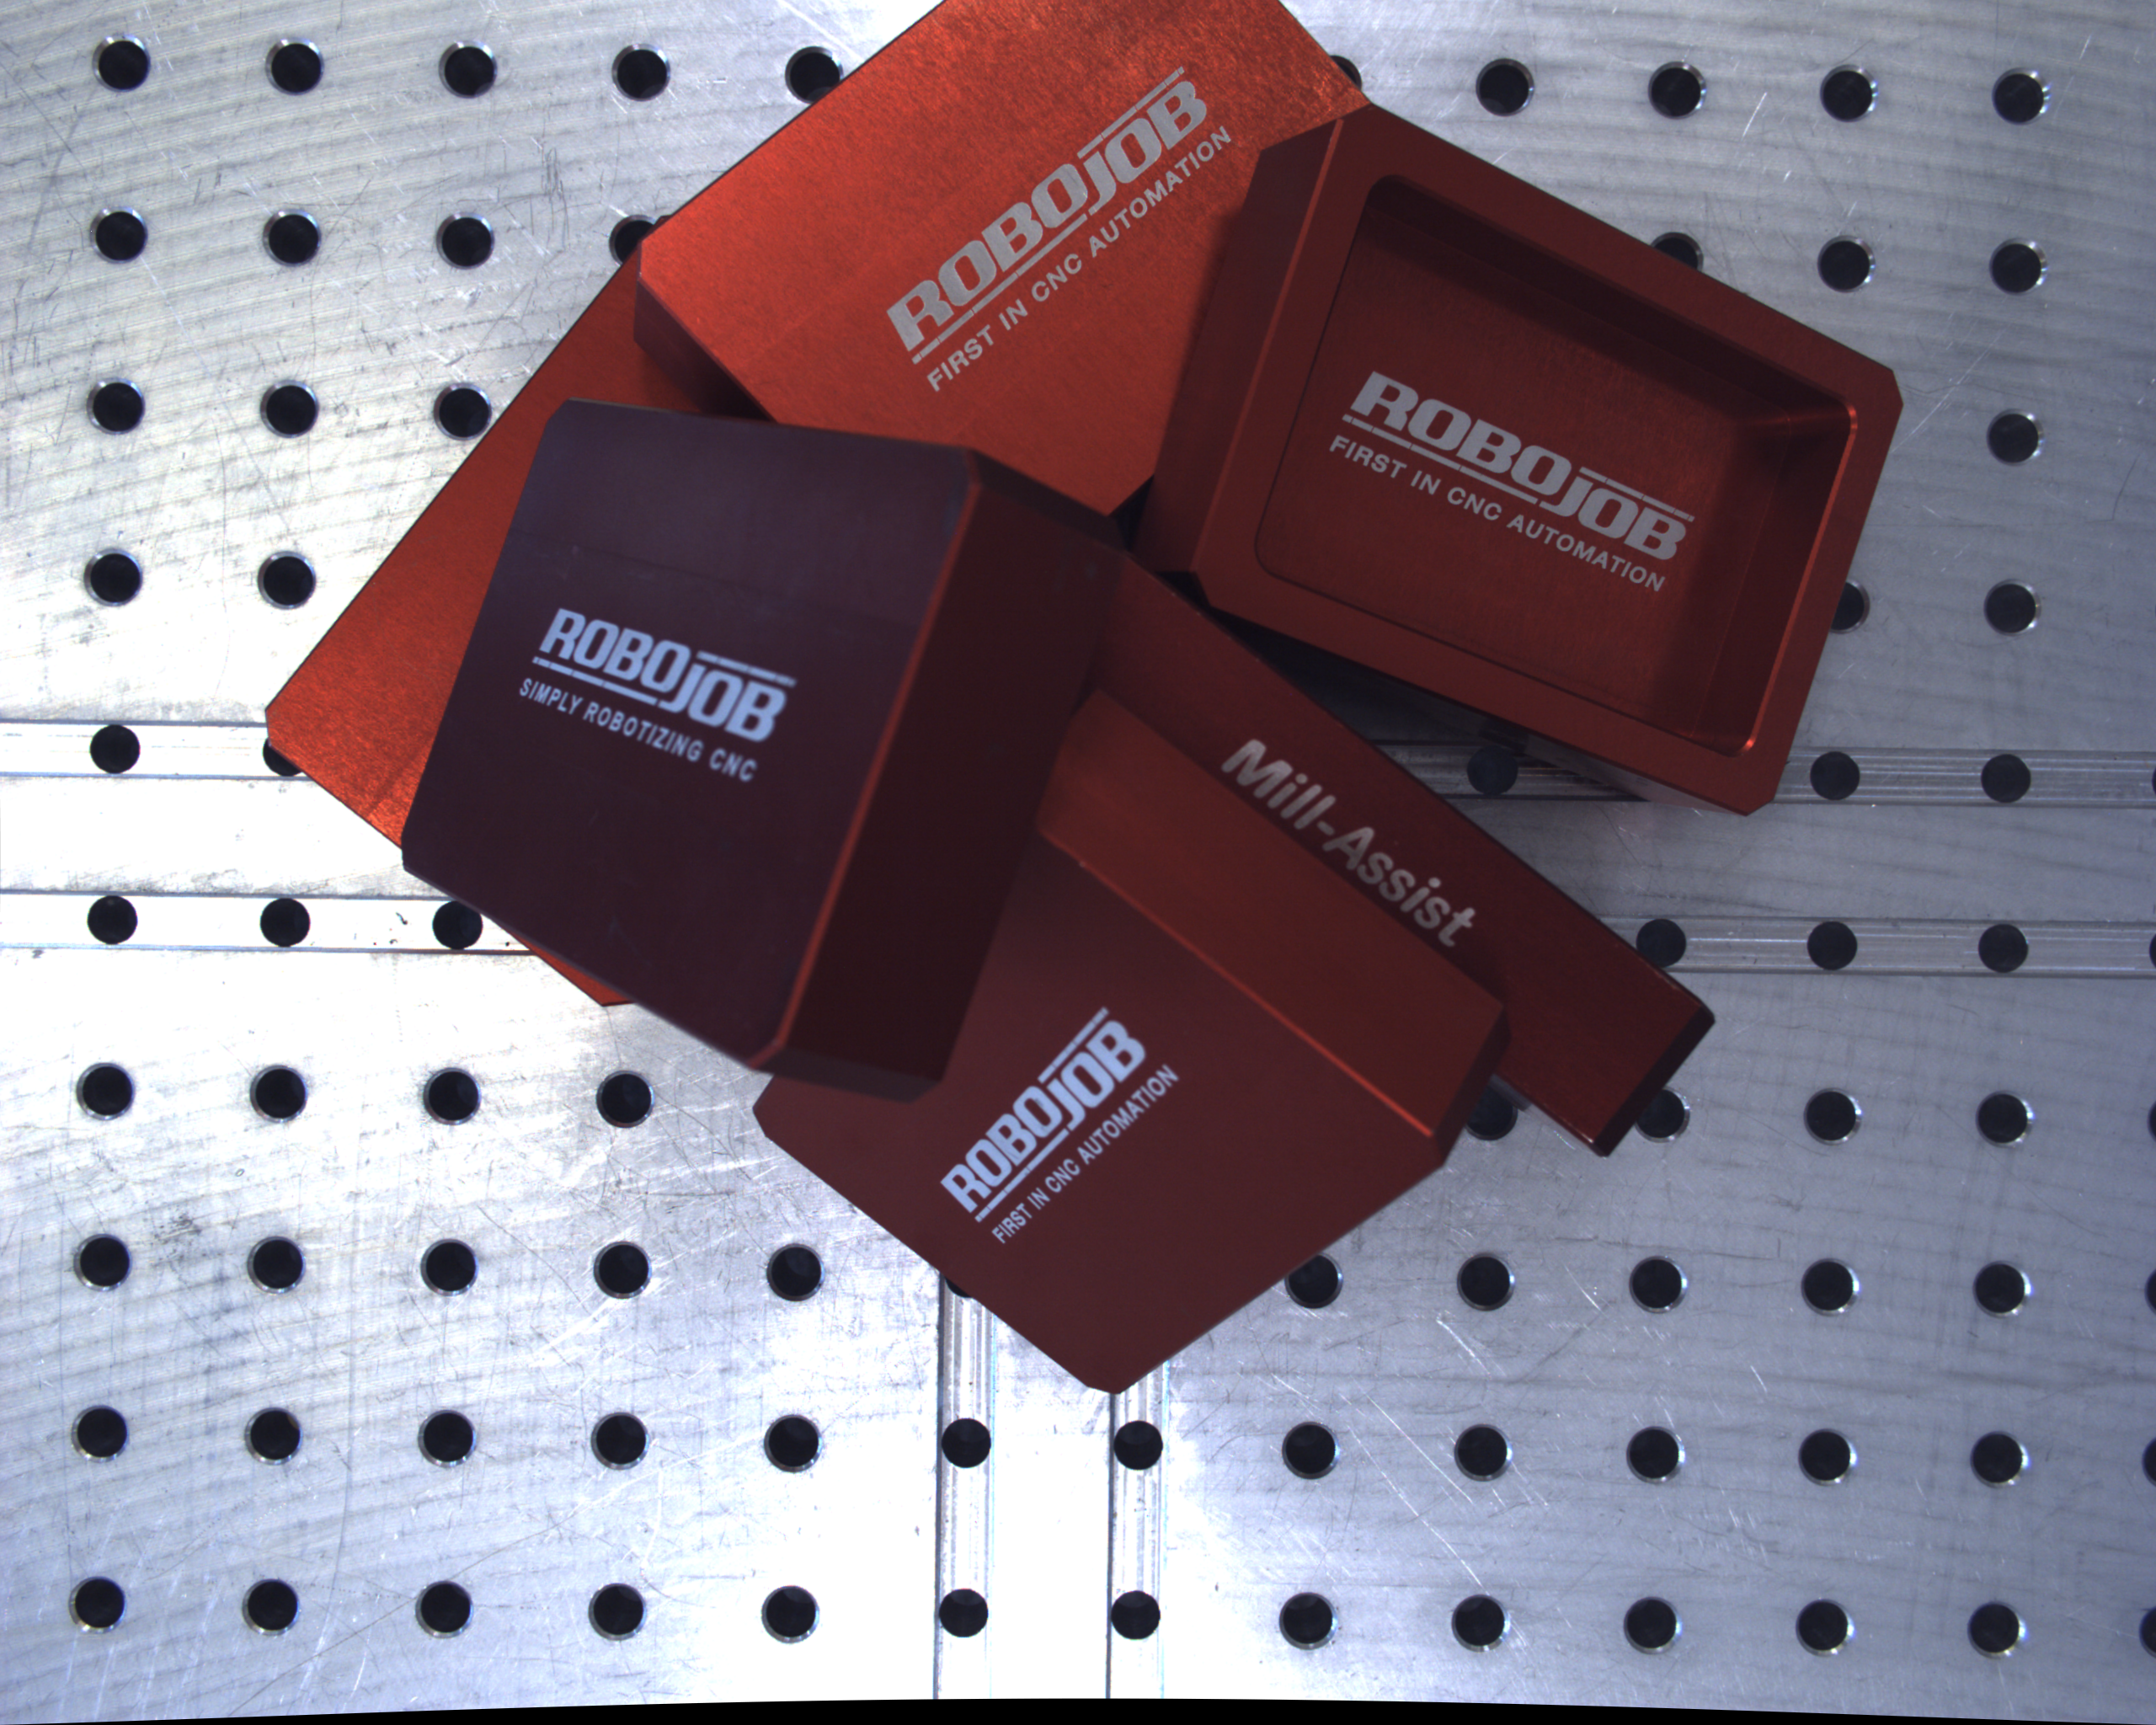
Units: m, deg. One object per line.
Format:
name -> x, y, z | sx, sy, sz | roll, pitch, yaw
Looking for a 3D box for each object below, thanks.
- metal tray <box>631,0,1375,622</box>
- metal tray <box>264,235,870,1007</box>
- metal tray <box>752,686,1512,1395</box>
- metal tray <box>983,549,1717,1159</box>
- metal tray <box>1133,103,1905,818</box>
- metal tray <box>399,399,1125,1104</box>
metal tray -> -0.007, -0.114, 0.392 | 0.130, 0.030, 0.090 | -44, 93, -14
metal tray -> -0.081, -0.048, 0.410 | 0.090, 0.030, 0.130 | 39, 90, -1
metal tray -> 0.003, 0.038, 0.365 | 0.090, 0.129, 0.030 | 38, 51, 0
metal tray -> 0.044, -0.003, 0.380 | 0.130, 0.090, 0.030 | 38, 90, 0
metal tray -> 0.083, -0.070, 0.387 | 0.131, 0.030, 0.090 | 18, 90, -23
metal tray -> -0.058, -0.024, 0.337 | 0.030, 0.130, 0.090 | 19, 90, -42
